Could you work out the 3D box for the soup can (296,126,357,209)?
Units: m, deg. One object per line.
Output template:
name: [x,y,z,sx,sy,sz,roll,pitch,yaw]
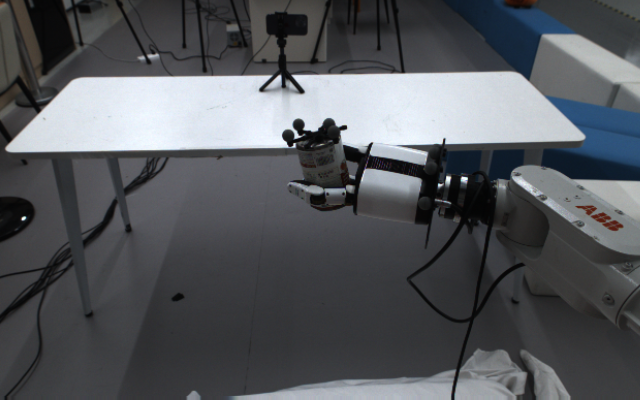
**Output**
soup can: [0.009,-0.043,0.707,0.067,0.101,0.067,-11,27,6]
